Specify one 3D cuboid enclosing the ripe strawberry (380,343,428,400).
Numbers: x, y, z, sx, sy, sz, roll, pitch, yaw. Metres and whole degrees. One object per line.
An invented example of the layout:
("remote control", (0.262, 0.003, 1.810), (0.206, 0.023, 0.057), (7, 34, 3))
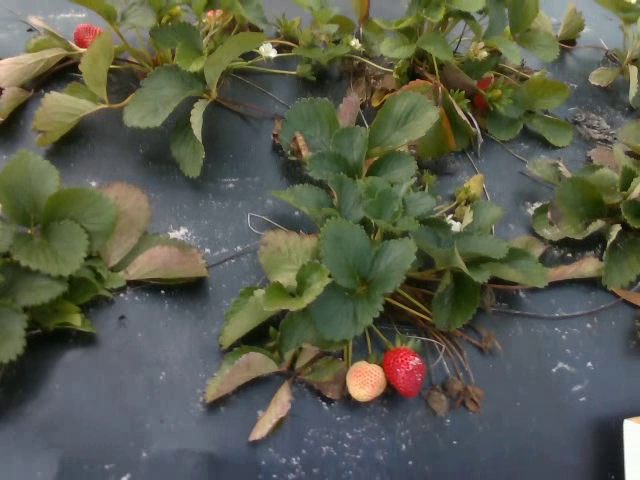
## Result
("ripe strawberry", (0.058, 0.092, 0.429), (0.034, 0.033, 0.042), (27, 23, -8))
